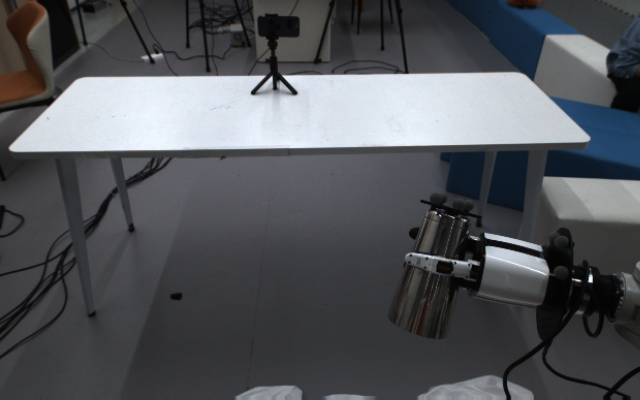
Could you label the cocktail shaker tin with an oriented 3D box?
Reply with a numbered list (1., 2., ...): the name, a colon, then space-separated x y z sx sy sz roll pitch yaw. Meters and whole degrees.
1. cocktail shaker tin: 0.167 0.102 0.708 0.093 0.170 0.093 14 6 -2
